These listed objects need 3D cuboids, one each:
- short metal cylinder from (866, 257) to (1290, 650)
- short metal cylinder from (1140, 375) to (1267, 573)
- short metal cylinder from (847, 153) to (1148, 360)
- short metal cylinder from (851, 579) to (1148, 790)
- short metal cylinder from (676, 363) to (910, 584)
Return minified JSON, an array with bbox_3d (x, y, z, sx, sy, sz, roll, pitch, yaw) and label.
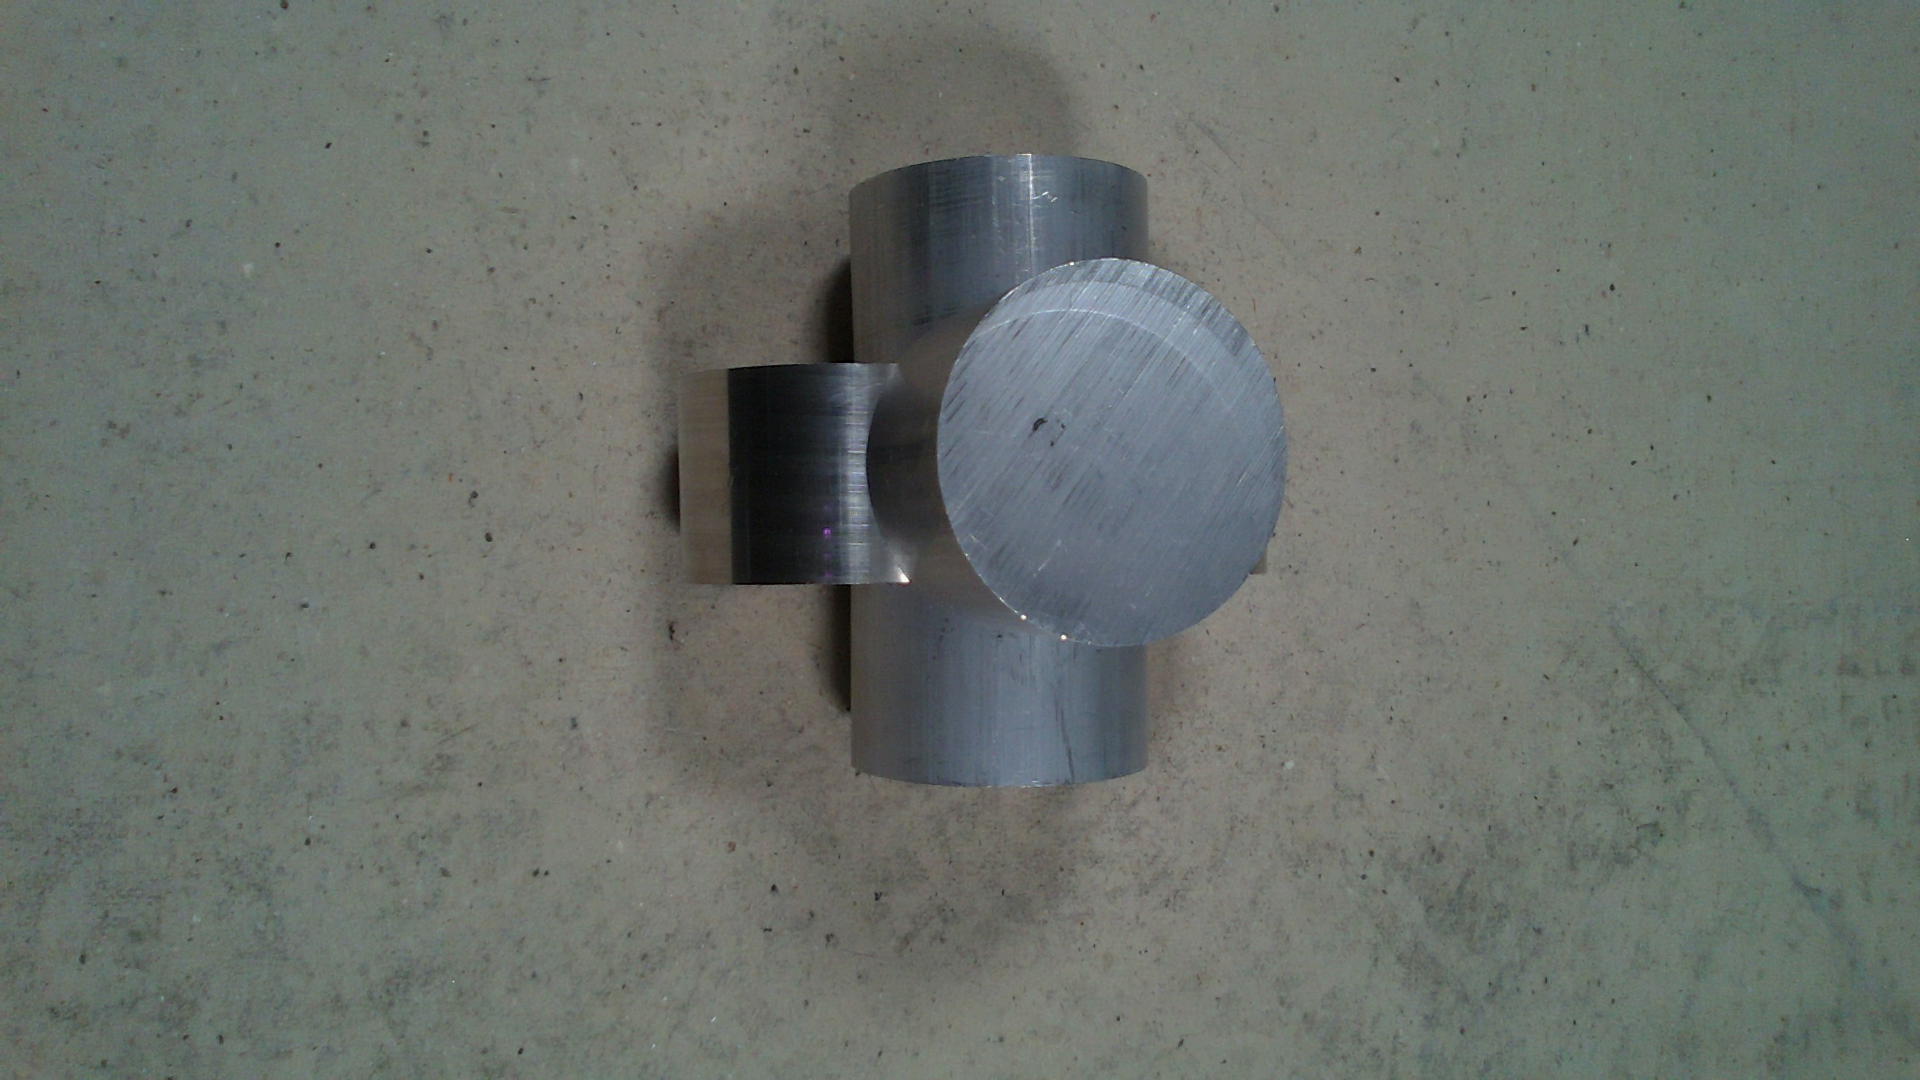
[{"bbox_3d":[0.025,-0.018,0.304,0.080,0.050,0.080,0,90,-20],"label":"short metal cylinder"},{"bbox_3d":[0.044,-0.016,0.380,0.080,0.080,0.050,-1,90,-20],"label":"short metal cylinder"},{"bbox_3d":[0.011,-0.068,0.368,0.080,0.080,0.050,-2,91,-20],"label":"short metal cylinder"},{"bbox_3d":[0.010,0.034,0.368,0.080,0.080,0.050,0,90,-20],"label":"short metal cylinder"},{"bbox_3d":[-0.032,-0.015,0.353,0.080,0.080,0.050,-1,91,-20],"label":"short metal cylinder"}]
